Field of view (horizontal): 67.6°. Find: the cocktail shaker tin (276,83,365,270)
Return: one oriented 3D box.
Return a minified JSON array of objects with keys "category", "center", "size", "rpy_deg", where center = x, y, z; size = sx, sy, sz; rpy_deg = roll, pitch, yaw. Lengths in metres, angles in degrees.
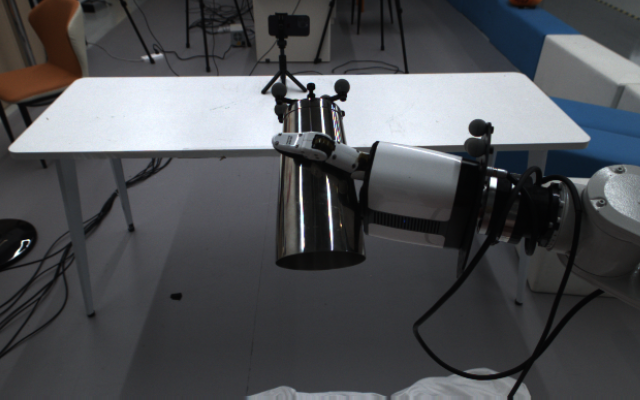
[{"category":"cocktail shaker tin","center":[-0.003,-0.017,0.515],"size":[0.093,0.093,0.170],"rpy_deg":[-2,71,-6]}]
